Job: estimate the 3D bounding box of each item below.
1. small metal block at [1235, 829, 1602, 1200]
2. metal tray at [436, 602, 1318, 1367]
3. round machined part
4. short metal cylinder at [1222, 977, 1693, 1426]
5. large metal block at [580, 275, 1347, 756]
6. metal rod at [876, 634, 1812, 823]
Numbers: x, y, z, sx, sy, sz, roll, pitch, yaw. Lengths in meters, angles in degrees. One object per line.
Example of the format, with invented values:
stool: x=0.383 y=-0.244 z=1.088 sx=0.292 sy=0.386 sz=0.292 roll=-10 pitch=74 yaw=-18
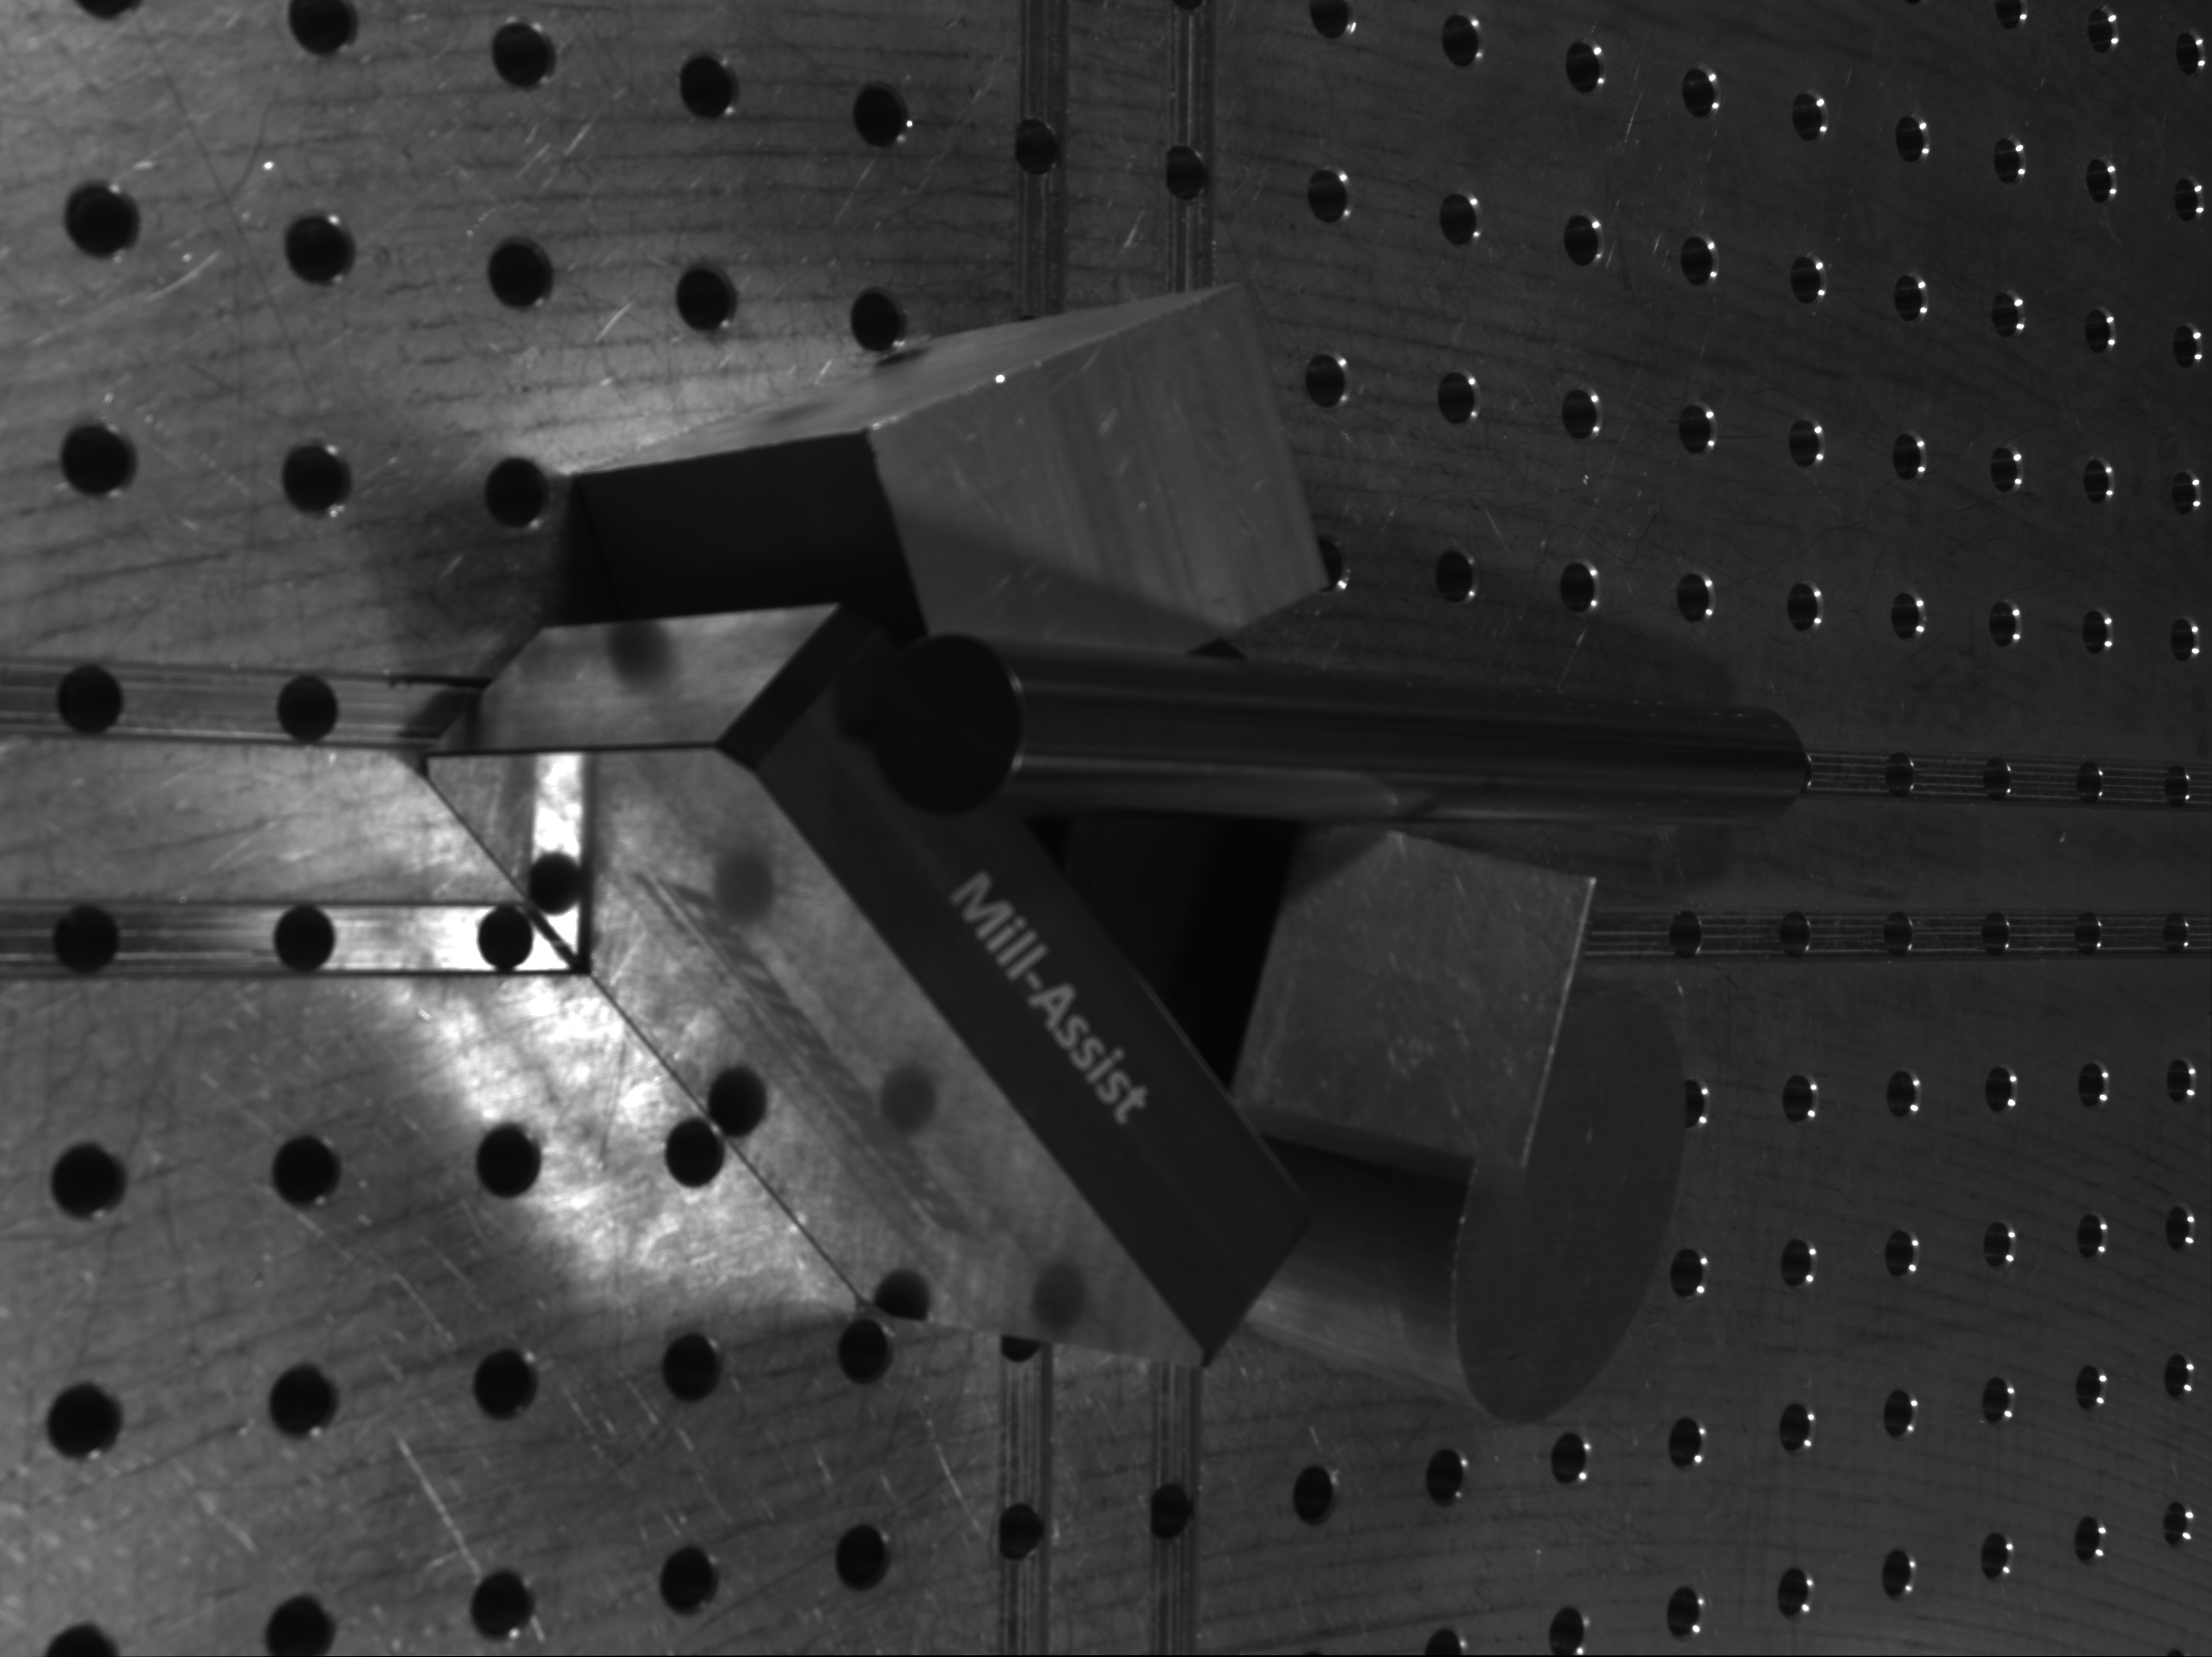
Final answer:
small metal block: x=0.052 y=0.030 z=0.611 sx=0.025 sy=0.050 sz=0.050 roll=72 pitch=33 yaw=-72
metal tray: x=-0.035 y=0.025 z=0.568 sx=0.030 sy=0.090 sz=0.130 roll=-51 pitch=120 yaw=-28
round machined part: x=0.005 y=0.011 z=0.637 sx=0.098 sy=0.042 sz=0.098 roll=0 pitch=90 yaw=-40
short metal cylinder: x=0.064 y=0.062 z=0.662 sx=0.080 sy=0.050 sz=0.080 roll=-25 pitch=122 yaw=-48
large metal block: x=-0.023 y=-0.049 z=0.584 sx=0.080 sy=0.080 sz=0.050 roll=-27 pitch=107 yaw=-37
metal rod: x=0.056 y=-0.014 z=0.625 sx=0.301 sy=0.025 sz=0.025 roll=0 pitch=90 yaw=-59
